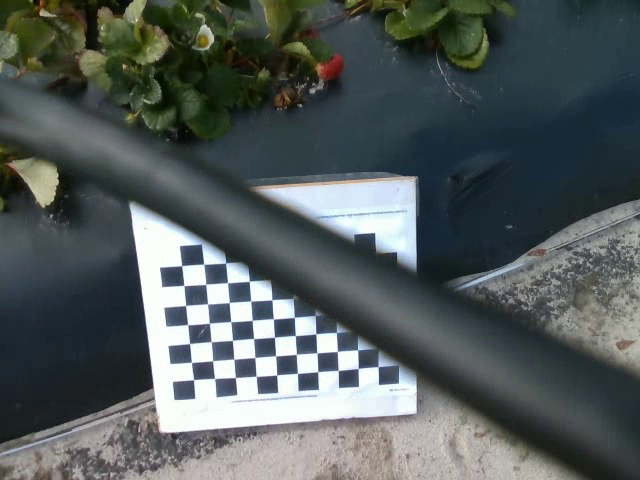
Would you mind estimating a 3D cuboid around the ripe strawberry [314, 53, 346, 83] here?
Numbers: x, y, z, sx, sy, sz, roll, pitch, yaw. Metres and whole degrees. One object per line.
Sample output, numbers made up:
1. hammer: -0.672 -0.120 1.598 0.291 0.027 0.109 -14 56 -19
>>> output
1. ripe strawberry: 0.007 -0.135 0.547 0.027 0.022 0.021 -26 23 11
